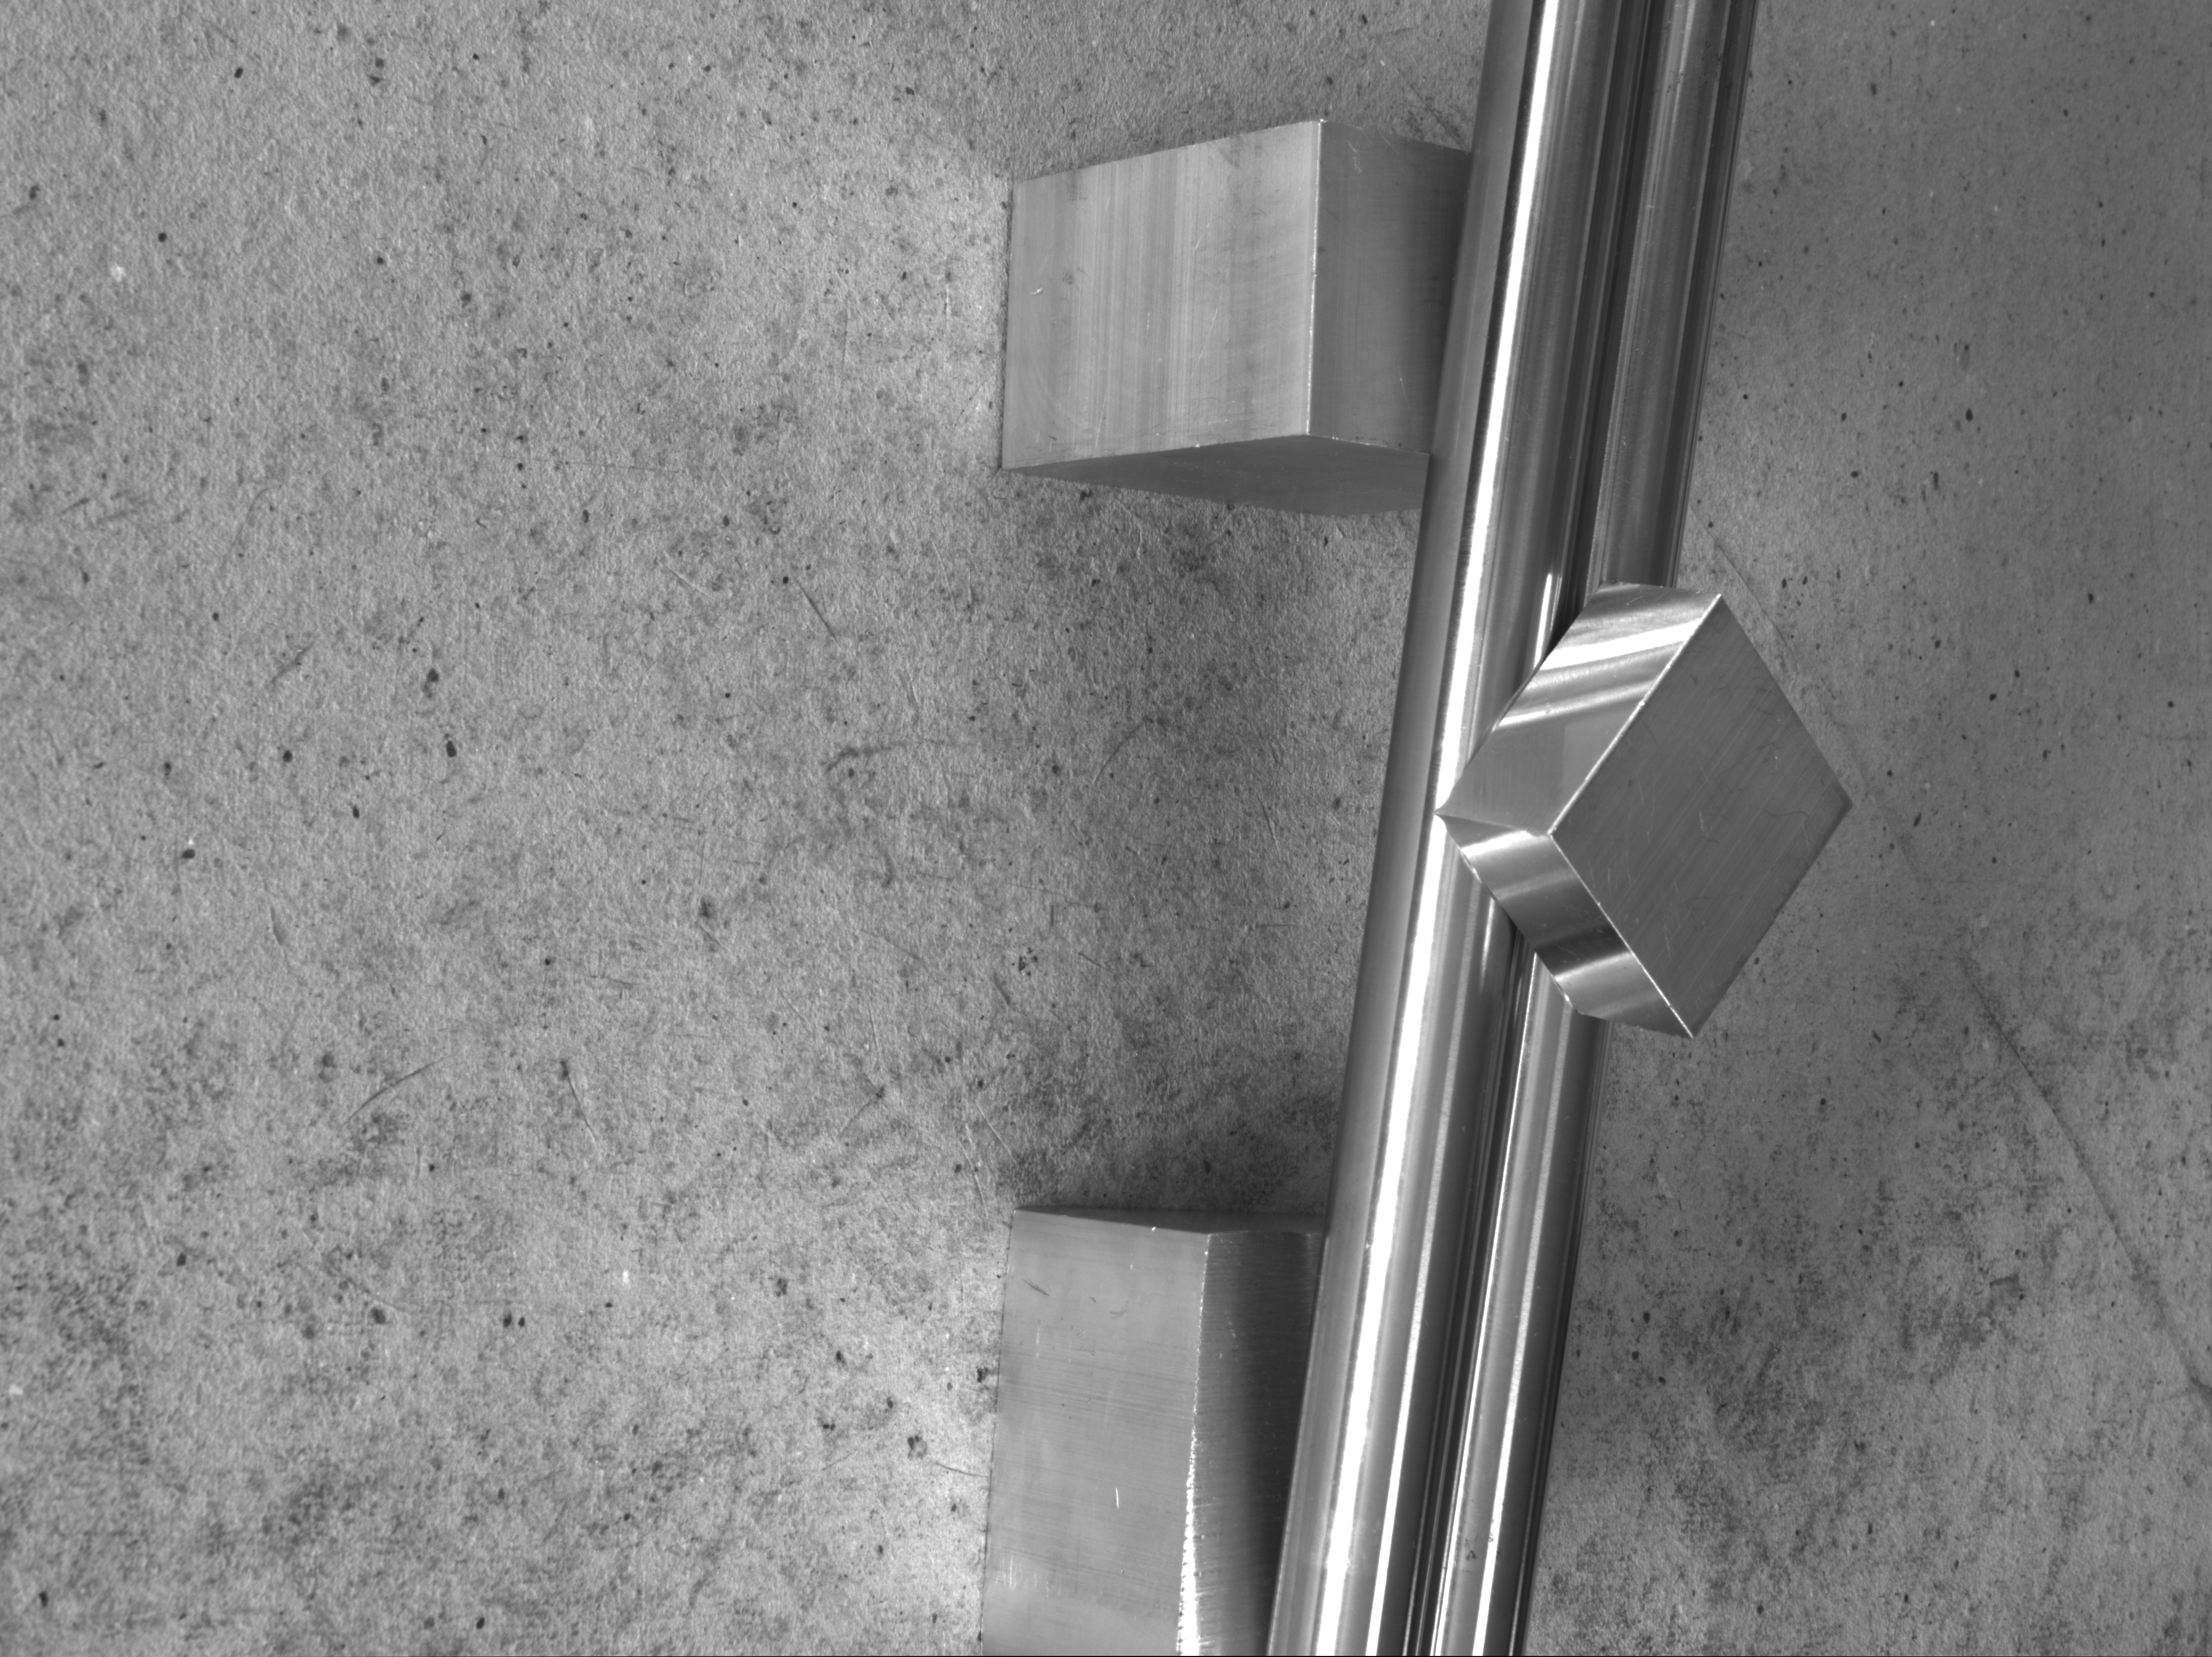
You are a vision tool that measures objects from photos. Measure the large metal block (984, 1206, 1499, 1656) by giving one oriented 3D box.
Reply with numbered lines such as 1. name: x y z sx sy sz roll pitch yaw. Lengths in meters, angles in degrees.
1. large metal block: 0.028 0.109 0.642 0.080 0.050 0.080 6 86 -39

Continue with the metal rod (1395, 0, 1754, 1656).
1. metal rod: 0.077 -0.003 0.606 0.025 0.025 0.300 4 94 -40

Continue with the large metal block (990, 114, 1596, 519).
1. large metal block: 0.037 -0.085 0.632 0.080 0.080 0.050 4 87 -40

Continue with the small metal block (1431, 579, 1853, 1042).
1. small metal block: 0.086 -0.003 0.581 0.050 0.025 0.050 -53 126 -20

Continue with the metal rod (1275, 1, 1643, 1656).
1. metal rod: 0.057 -0.004 0.590 0.025 0.025 0.300 4 94 -40
